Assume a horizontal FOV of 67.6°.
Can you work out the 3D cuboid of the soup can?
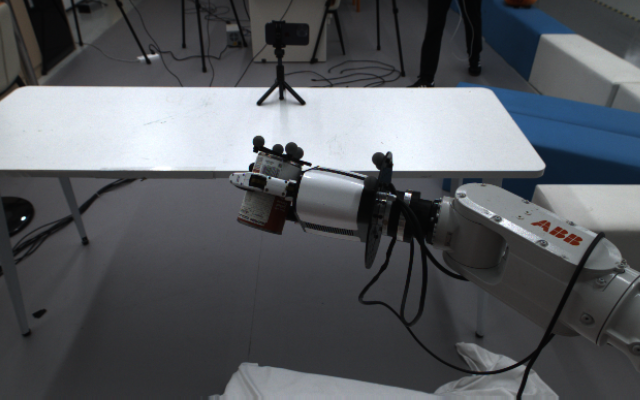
[{"bbox_3d":[-0.070,-0.008,0.682,0.067,0.101,0.067,17,-1,0],"label":"soup can"}]
